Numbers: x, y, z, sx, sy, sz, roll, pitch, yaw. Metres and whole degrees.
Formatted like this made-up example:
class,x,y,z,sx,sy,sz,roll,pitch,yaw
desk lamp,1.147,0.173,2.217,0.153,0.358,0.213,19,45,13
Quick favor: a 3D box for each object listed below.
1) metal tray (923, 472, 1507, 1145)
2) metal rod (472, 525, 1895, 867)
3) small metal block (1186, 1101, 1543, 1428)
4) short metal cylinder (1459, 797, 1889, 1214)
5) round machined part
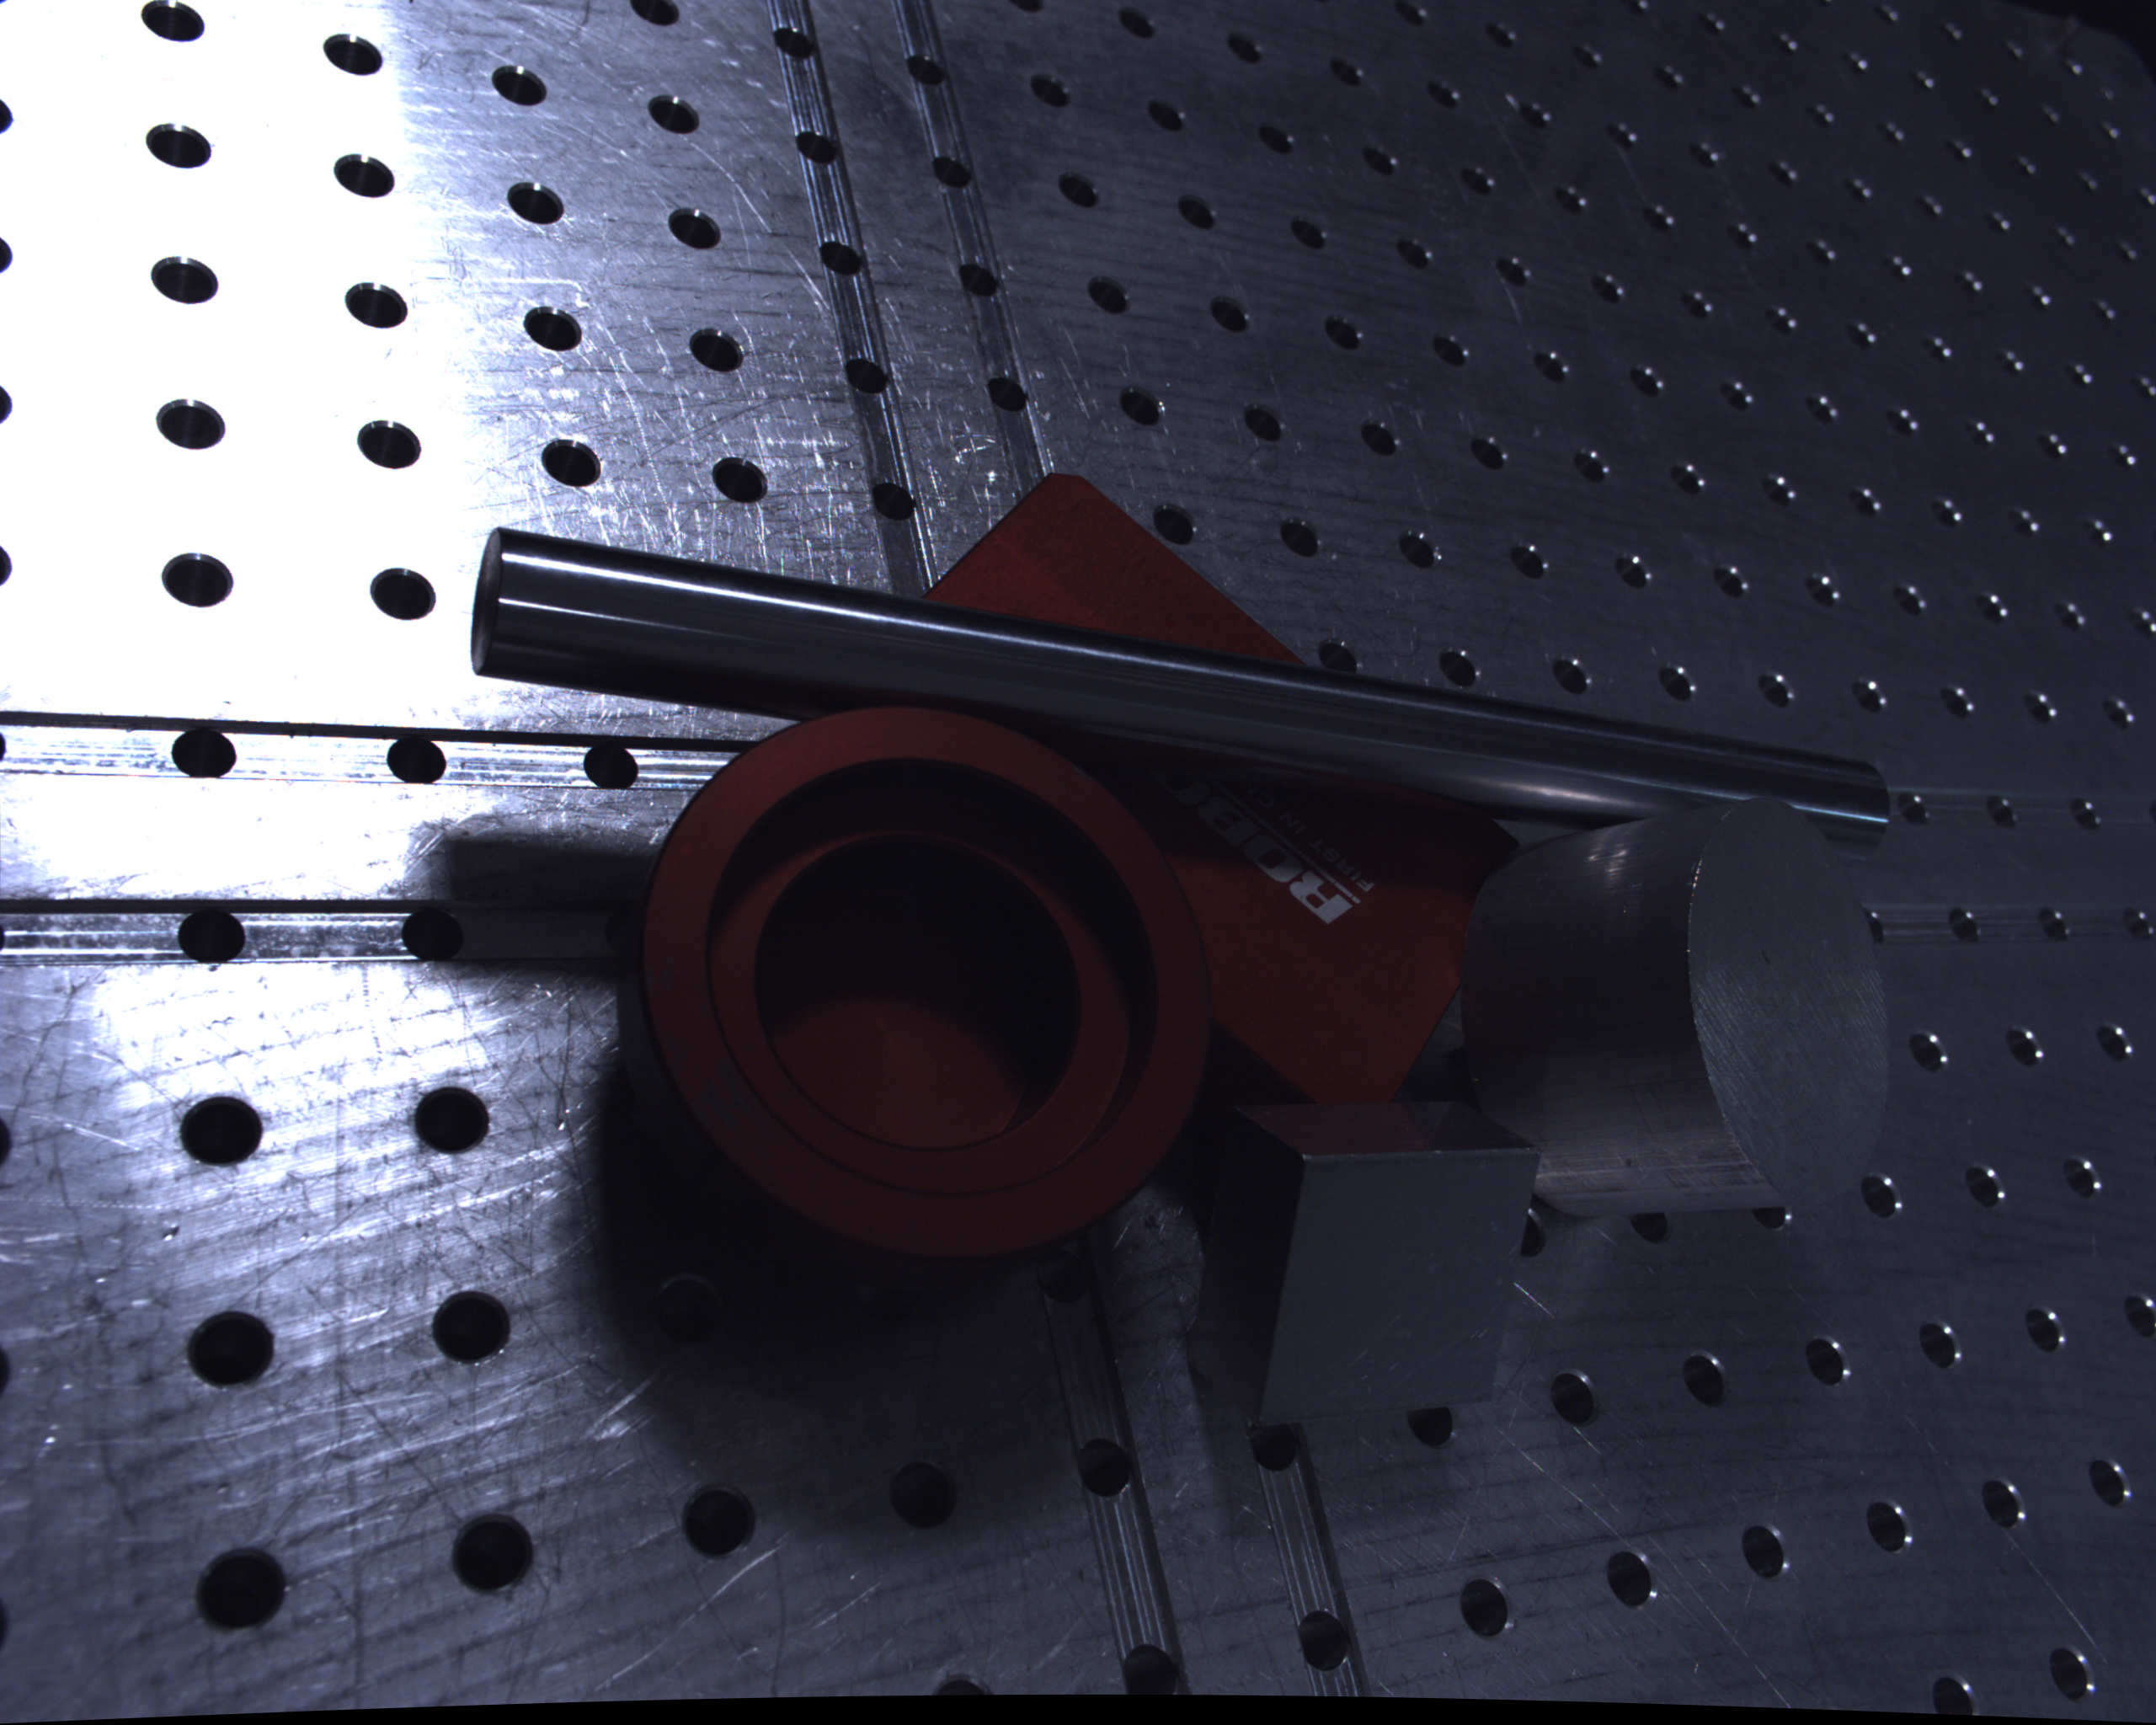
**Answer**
class,x,y,z,sx,sy,sz,roll,pitch,yaw
metal tray,0.018,-0.010,0.424,0.130,0.030,0.090,40,51,-2
metal rod,0.039,-0.027,0.407,0.302,0.025,0.025,7,59,-25
small metal block,0.051,0.071,0.377,0.050,0.025,0.050,3,104,-28
short metal cylinder,0.122,0.030,0.422,0.081,0.050,0.080,12,73,-43
round machined part,-0.031,0.025,0.361,0.099,0.042,0.098,9,65,-19
